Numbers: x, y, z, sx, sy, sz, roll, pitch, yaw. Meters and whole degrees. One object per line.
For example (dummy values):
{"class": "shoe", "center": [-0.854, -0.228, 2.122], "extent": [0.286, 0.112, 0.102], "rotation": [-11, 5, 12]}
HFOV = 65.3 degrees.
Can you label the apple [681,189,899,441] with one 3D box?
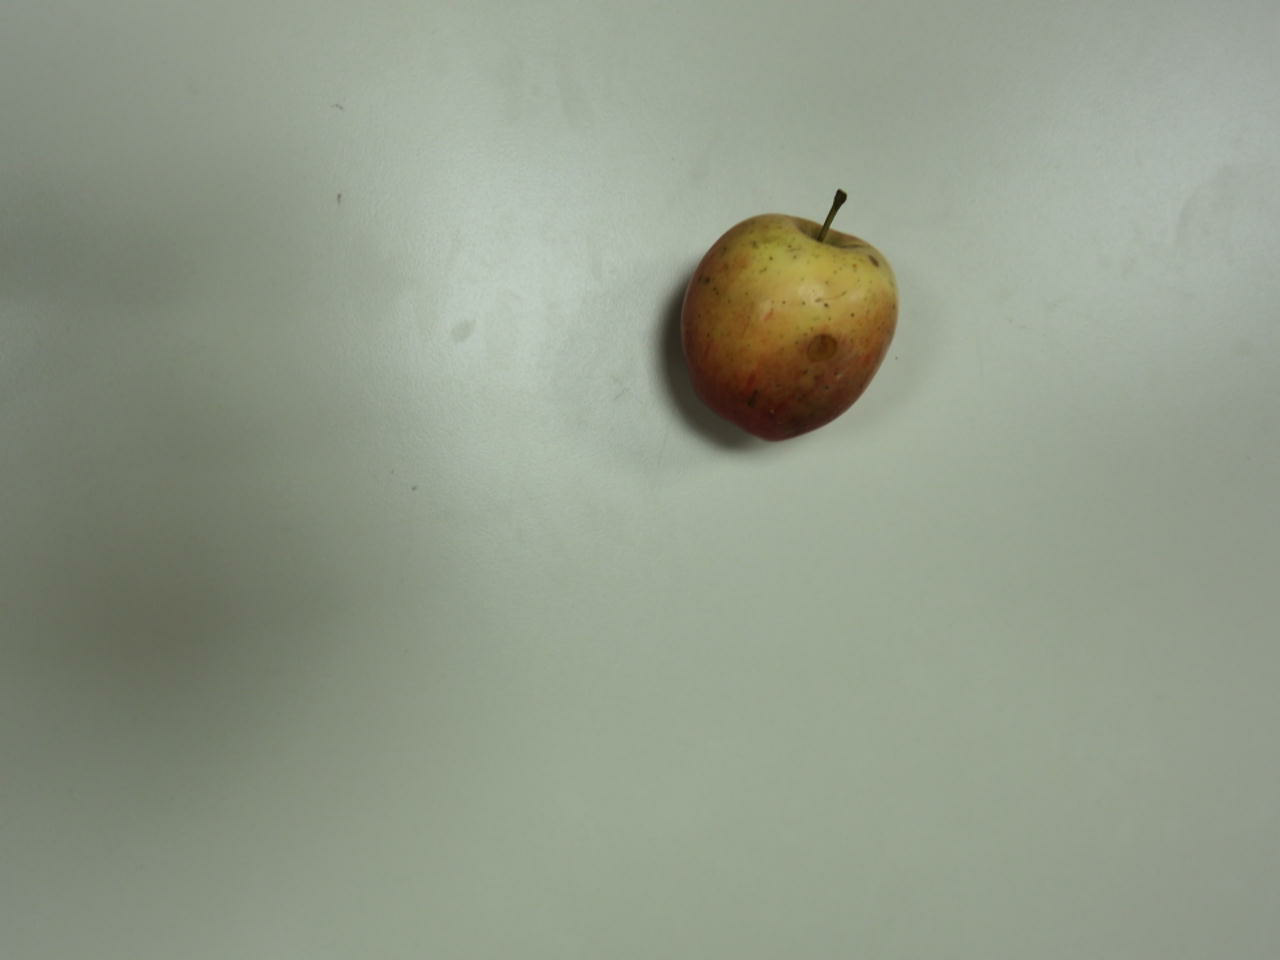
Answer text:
{"class": "apple", "center": [0.060, -0.065, 0.406], "extent": [0.086, 0.084, 0.093], "rotation": [44, 82, -9]}
